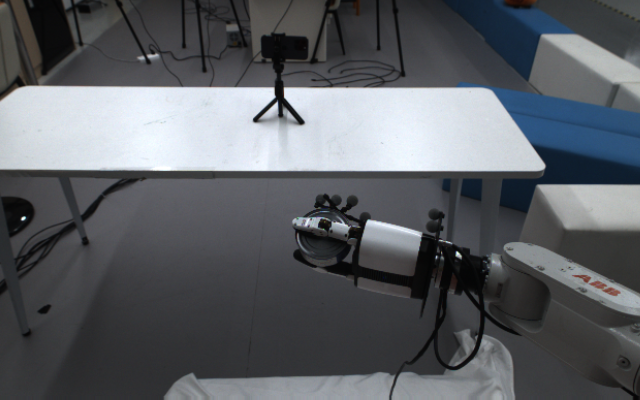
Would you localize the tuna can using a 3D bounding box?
[{"bbox_3d":[0.008,0.055,0.737,0.085,0.034,0.085,-4,56,6],"label":"tuna can"}]
